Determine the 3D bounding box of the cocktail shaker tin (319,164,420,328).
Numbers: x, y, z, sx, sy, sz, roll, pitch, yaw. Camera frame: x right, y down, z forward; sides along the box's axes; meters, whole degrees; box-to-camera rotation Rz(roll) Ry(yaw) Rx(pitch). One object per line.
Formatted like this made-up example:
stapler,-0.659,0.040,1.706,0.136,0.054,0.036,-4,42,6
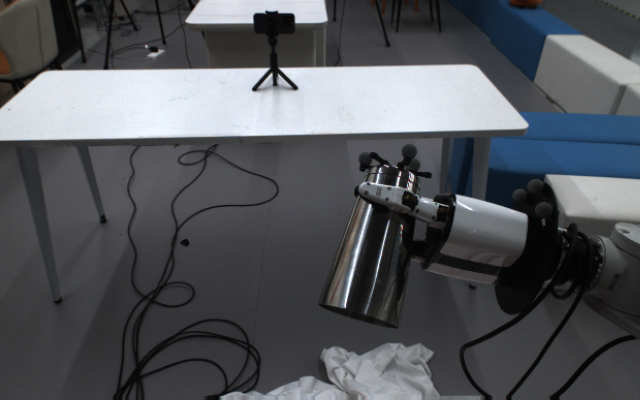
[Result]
cocktail shaker tin,0.067,0.048,0.556,0.093,0.093,0.170,12,72,14
